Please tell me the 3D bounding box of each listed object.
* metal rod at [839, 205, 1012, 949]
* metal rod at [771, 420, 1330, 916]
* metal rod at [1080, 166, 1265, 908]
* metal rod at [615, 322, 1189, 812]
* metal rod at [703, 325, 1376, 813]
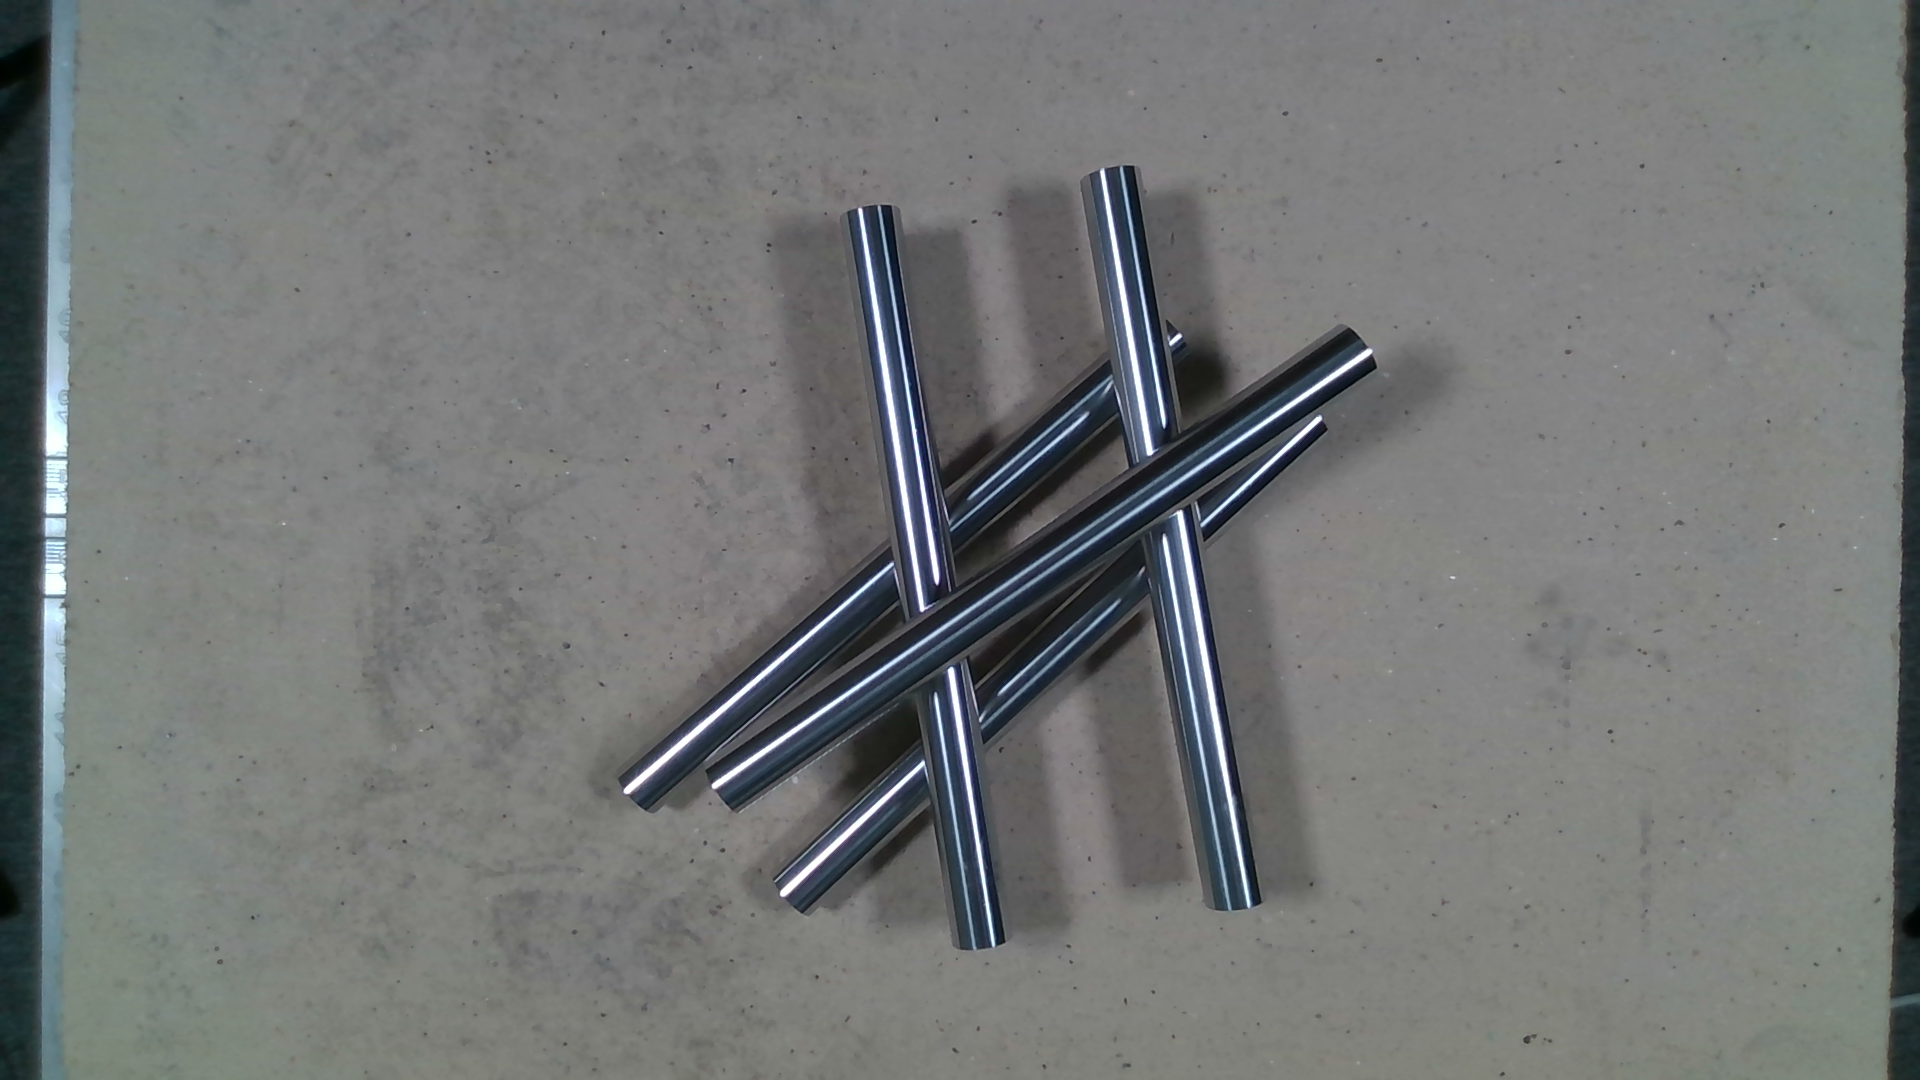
[{"bbox_3d":[-0.014,0.015,0.563,0.025,0.025,0.300,-9,91,0],"label":"metal rod"},{"bbox_3d":[0.038,0.049,0.587,0.300,0.025,0.025,-43,90,0],"label":"metal rod"},{"bbox_3d":[0.087,-0.001,0.563,0.025,0.025,0.300,-10,91,0],"label":"metal rod"},{"bbox_3d":[-0.025,0.009,0.586,0.300,0.025,0.025,-41,90,0],"label":"metal rod"},{"bbox_3d":[0.031,0.012,0.538,0.300,0.025,0.025,-34,90,0],"label":"metal rod"}]
